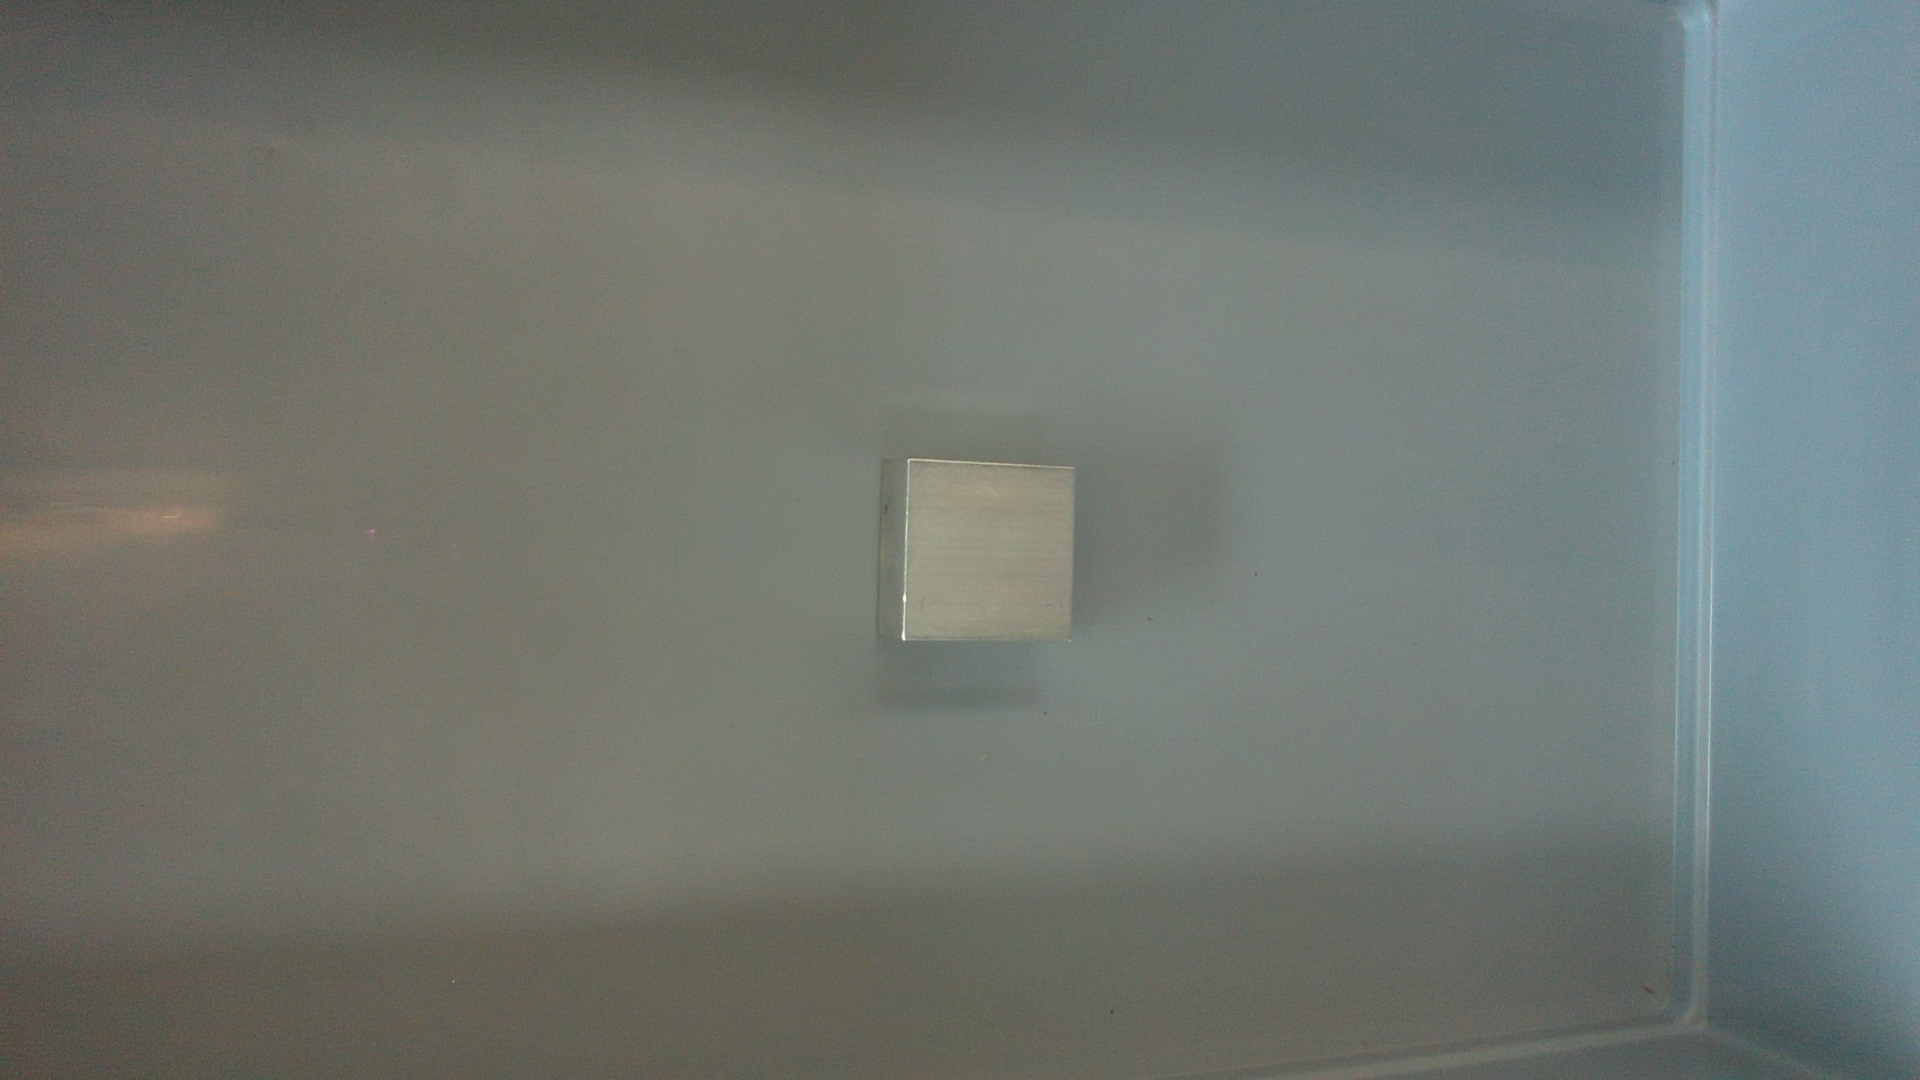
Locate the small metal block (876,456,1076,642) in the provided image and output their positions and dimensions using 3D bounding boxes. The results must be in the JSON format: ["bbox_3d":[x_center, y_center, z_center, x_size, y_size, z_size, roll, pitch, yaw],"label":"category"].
[{"bbox_3d":[0.004,0.003,0.391,0.050,0.025,0.050,2,90,-20],"label":"small metal block"}]
